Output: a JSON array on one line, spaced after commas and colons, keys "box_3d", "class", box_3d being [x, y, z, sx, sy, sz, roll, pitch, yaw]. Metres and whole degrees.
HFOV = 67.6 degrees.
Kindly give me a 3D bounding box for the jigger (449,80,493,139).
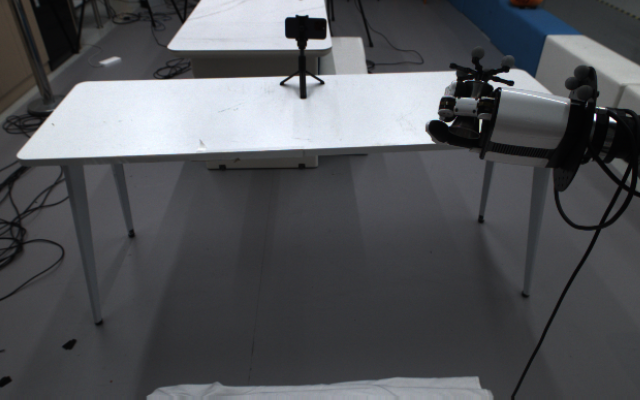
[{"box_3d": [0.204, -0.123, 0.651, 0.043, 0.071, 0.043, 18, -6, 2], "class": "jigger"}]
